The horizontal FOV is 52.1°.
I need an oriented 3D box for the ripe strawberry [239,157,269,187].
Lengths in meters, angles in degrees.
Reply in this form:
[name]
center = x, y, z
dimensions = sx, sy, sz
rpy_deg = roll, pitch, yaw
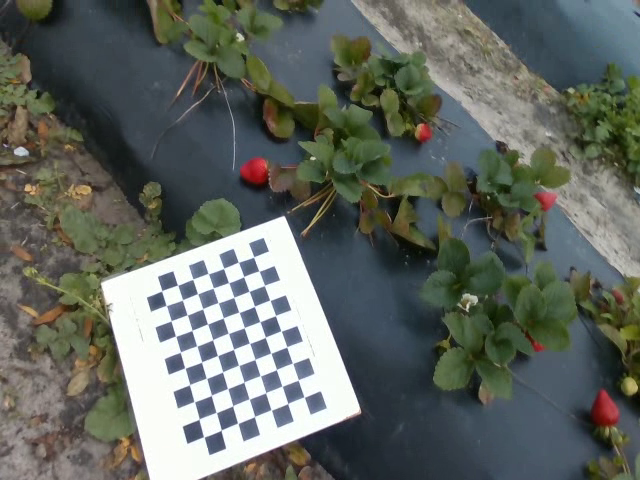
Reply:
[ripe strawberry]
center = -0.066, -0.069, 0.641
dimensions = 0.033, 0.029, 0.023
rpy_deg = -5, -26, -5
